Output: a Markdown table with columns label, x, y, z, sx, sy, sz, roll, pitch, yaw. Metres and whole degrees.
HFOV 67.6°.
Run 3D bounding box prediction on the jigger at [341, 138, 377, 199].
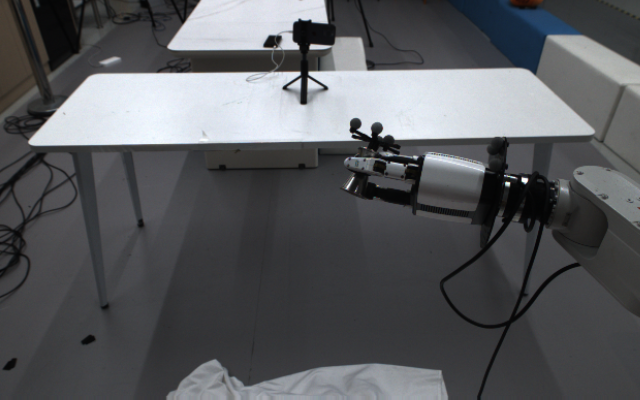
| label | x | y | z | sx | sy | sz | roll | pitch | yaw |
| --- | --- | --- | --- | --- | --- | --- | --- | --- | --- |
| jigger | 0.061 | -0.042 | 0.716 | 0.043 | 0.071 | 0.043 | 24 | -3 | 1 |
